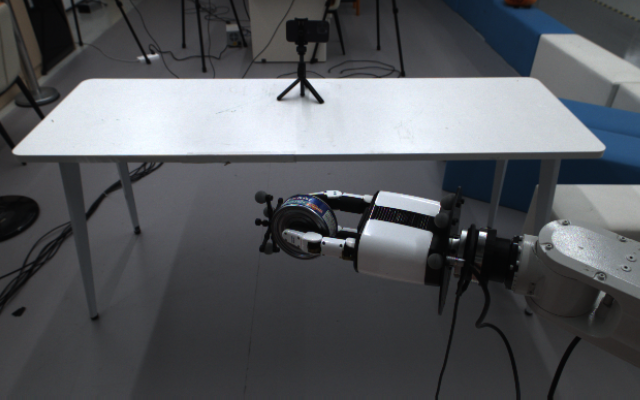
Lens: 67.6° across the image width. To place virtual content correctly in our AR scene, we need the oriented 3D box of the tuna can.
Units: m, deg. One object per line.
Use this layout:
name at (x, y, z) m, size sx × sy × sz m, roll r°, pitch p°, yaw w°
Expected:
tuna can at (-0.018, 0.038, 0.647) m, size 0.085 × 0.085 × 0.034 m, roll 12°, pitch 28°, yaw 14°
